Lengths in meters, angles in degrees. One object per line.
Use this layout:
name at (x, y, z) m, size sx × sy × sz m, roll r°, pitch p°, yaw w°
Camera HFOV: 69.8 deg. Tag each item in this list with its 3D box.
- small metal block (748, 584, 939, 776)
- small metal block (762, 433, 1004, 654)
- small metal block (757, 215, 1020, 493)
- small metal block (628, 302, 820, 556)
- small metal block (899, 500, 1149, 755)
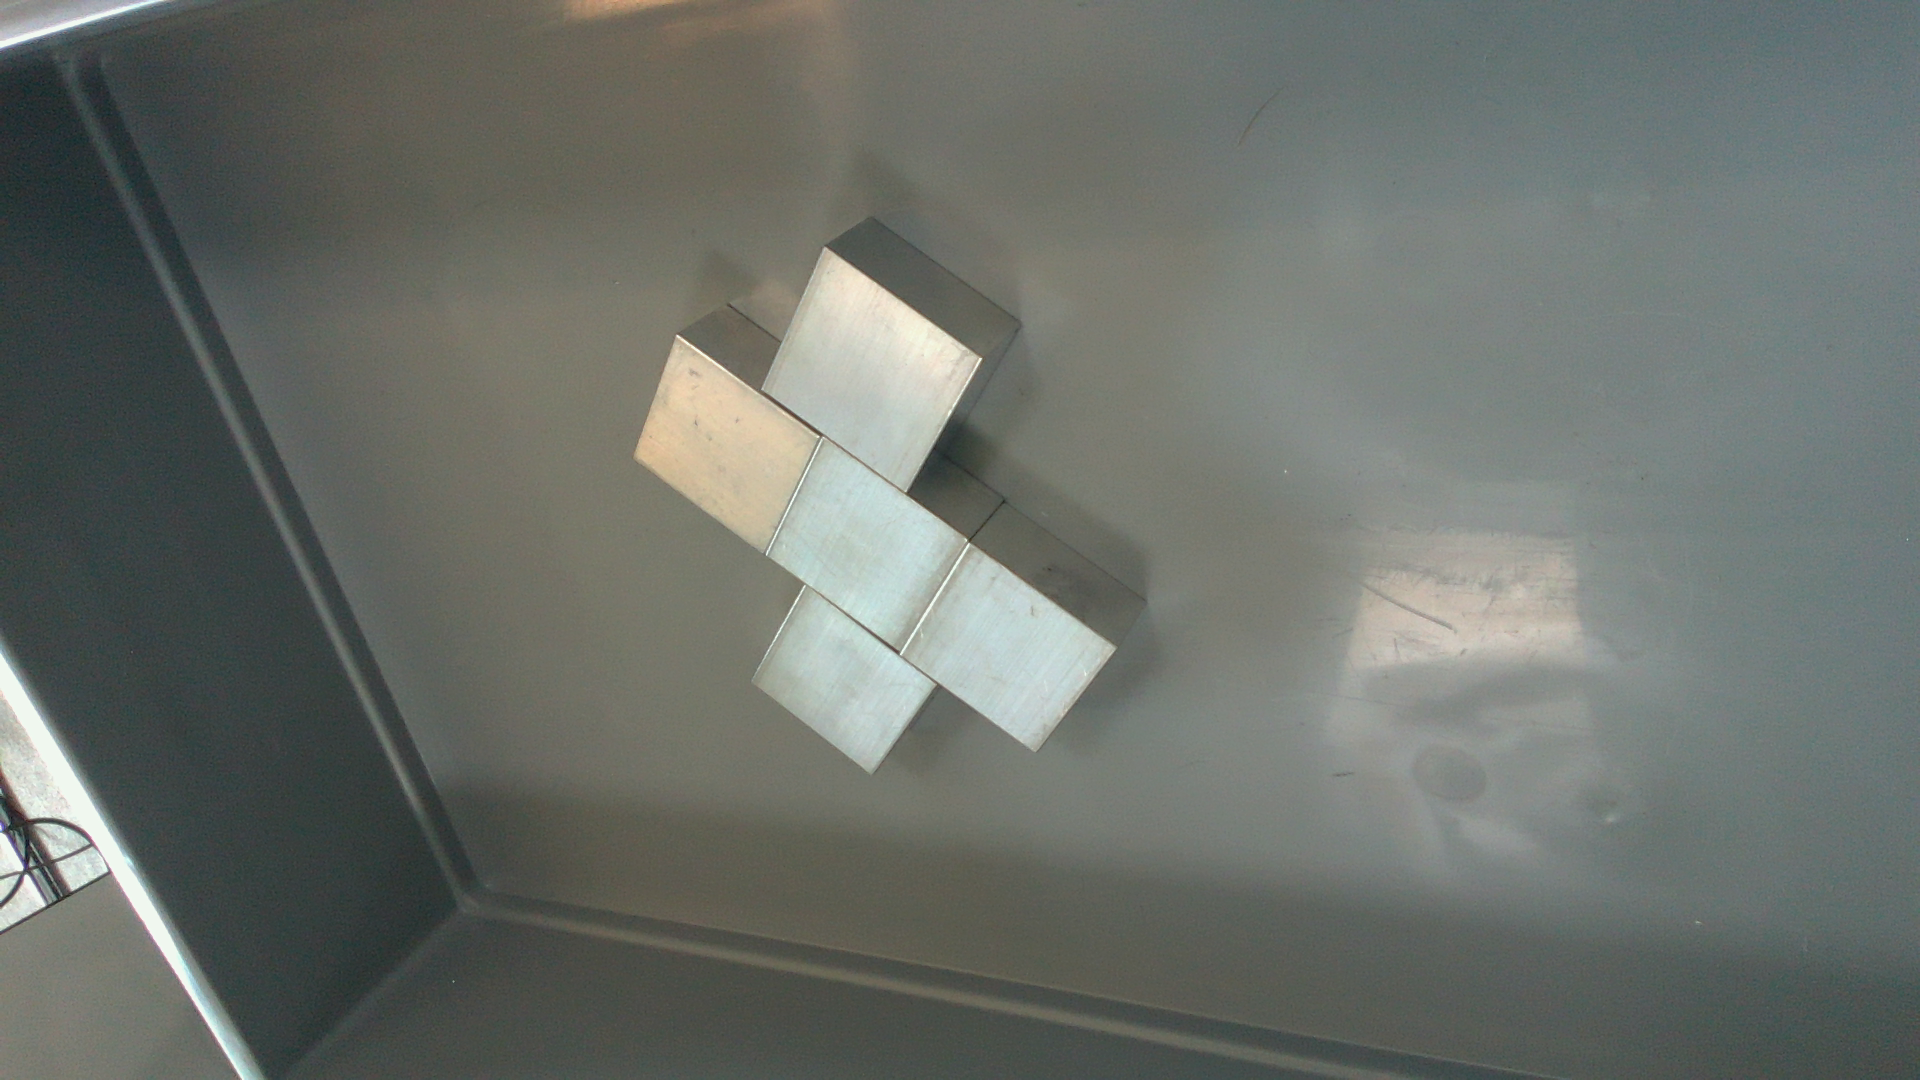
small metal block at (-0.032, 0.038, 0.432) m, size 0.050 × 0.025 × 0.050 m, roll 37°, pitch 130°, yaw 4°
small metal block at (-0.023, -0.003, 0.400) m, size 0.050 × 0.025 × 0.050 m, roll 36°, pitch 129°, yaw 5°
small metal block at (-0.020, -0.050, 0.370) m, size 0.050 × 0.025 × 0.050 m, roll 36°, pitch 128°, yaw 4°
small metal block at (-0.064, -0.032, 0.405) m, size 0.050 × 0.025 × 0.050 m, roll 36°, pitch 129°, yaw 5°
small metal block at (0.018, 0.026, 0.397) m, size 0.050 × 0.025 × 0.050 m, roll 36°, pitch 129°, yaw 5°
